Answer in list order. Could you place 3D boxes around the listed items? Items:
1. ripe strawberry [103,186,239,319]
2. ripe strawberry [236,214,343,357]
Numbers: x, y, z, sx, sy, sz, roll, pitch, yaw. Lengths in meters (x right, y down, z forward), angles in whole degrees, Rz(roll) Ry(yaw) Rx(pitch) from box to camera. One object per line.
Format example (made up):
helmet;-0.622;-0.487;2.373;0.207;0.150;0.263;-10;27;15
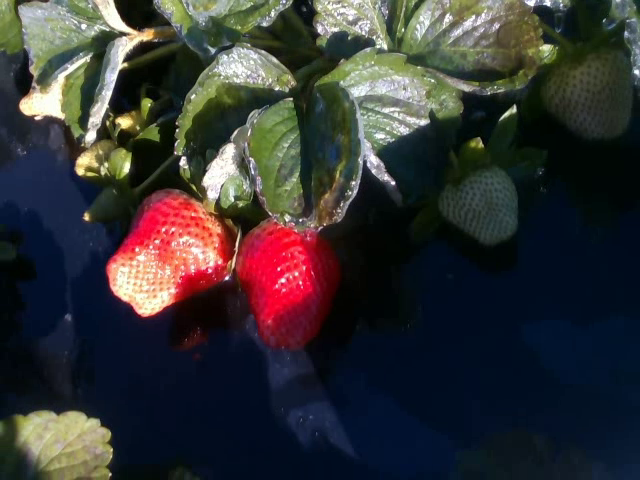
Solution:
ripe strawberry;-0.067;0.010;0.299;0.052;0.070;0.040;30;-11;8
ripe strawberry;-0.017;0.016;0.278;0.043;0.059;0.040;-17;-18;7
